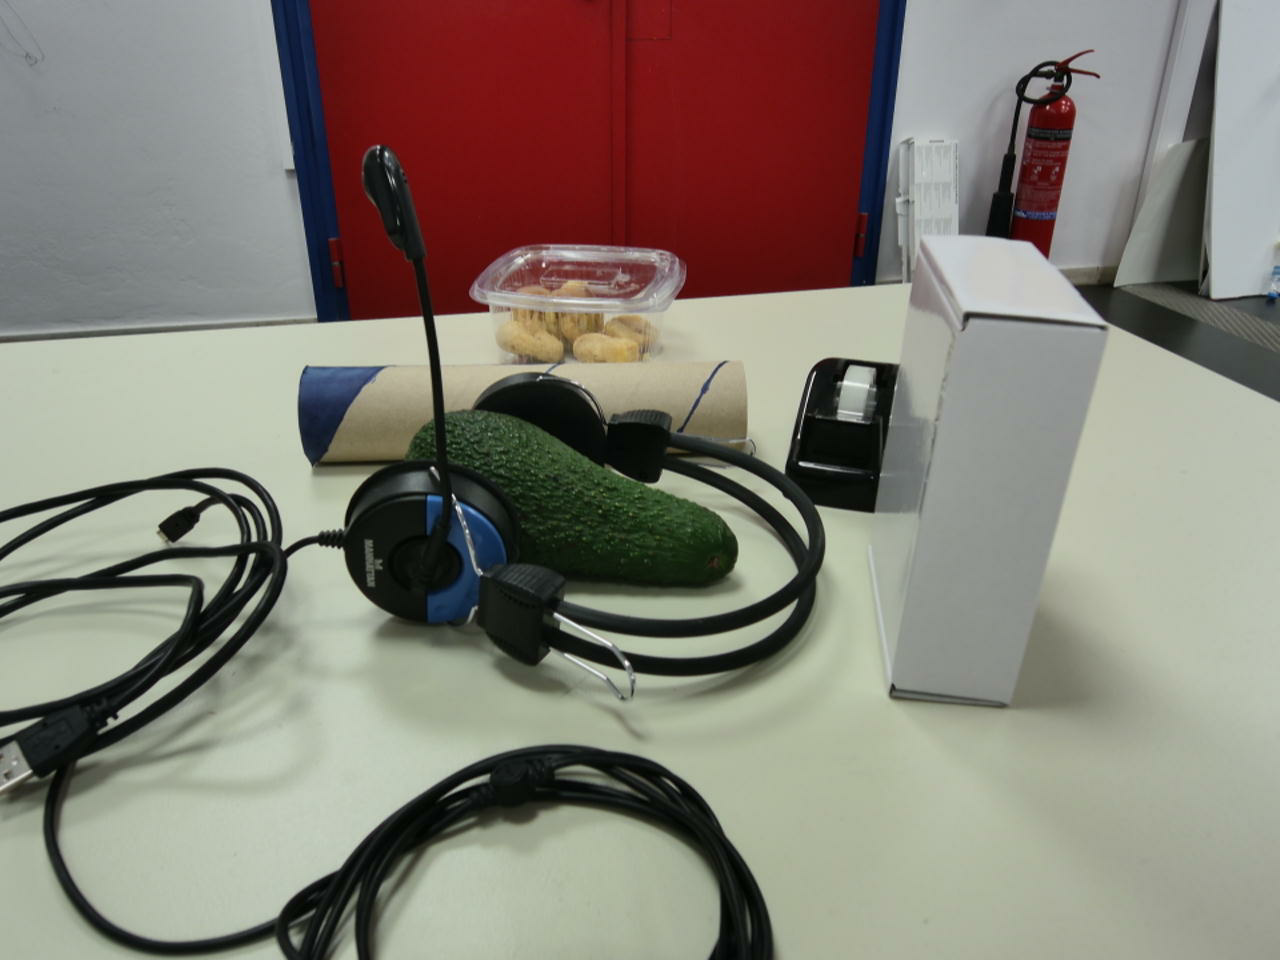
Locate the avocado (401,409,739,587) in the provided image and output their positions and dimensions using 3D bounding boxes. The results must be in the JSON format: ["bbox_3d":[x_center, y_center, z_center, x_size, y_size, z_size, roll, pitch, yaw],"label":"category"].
[{"bbox_3d":[-0.029,0.004,0.414,0.141,0.067,0.063,1,24,2],"label":"avocado"}]
